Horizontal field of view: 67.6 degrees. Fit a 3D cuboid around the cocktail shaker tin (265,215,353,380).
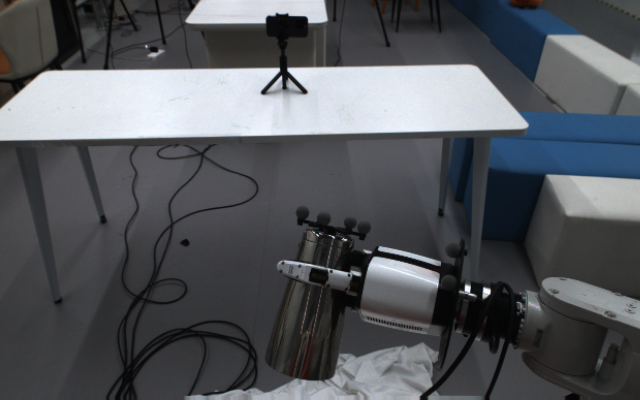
[{"bbox_3d":[-0.003,0.124,0.613,0.093,0.170,0.093,13,1,0],"label":"cocktail shaker tin"}]
